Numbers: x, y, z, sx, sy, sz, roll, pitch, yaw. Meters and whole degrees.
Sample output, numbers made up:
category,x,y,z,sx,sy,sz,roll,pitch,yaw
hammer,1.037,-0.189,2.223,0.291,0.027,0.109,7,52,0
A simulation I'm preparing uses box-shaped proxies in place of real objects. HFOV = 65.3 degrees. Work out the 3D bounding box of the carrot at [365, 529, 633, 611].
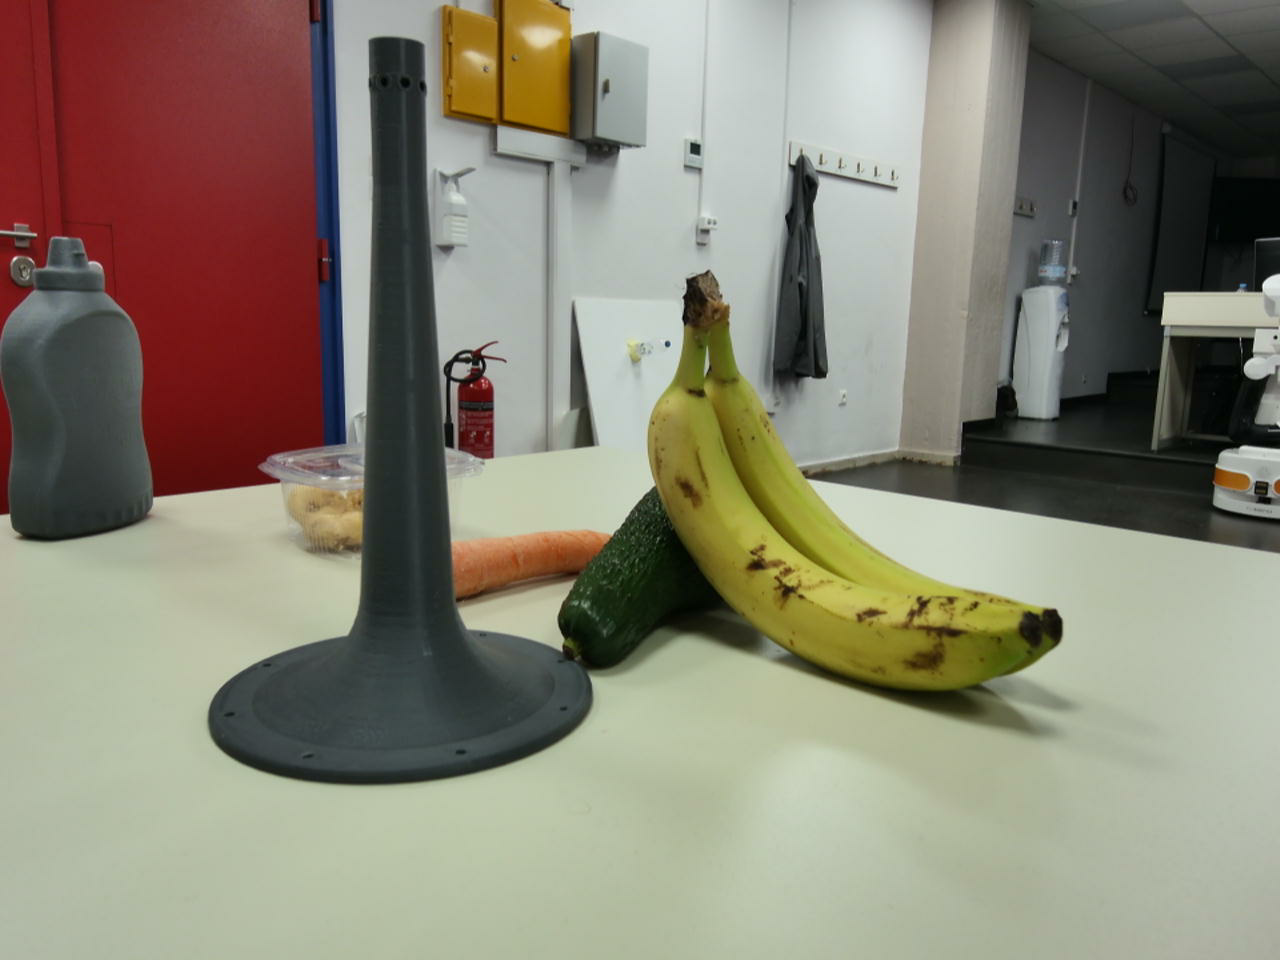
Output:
category,x,y,z,sx,sy,sz,roll,pitch,yaw
carrot,-0.076,0.045,0.603,0.039,0.041,0.196,7,12,43
